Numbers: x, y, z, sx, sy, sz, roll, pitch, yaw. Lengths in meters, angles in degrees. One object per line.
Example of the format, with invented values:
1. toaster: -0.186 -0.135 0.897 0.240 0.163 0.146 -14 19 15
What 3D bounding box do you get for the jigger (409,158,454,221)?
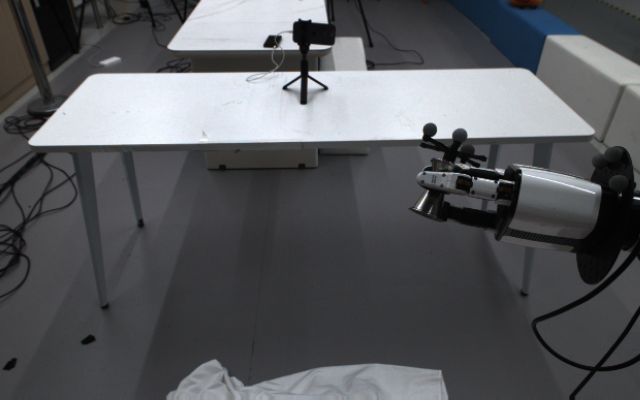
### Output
1. jigger: 0.139 -0.014 0.588 0.043 0.071 0.043 25 -3 1
